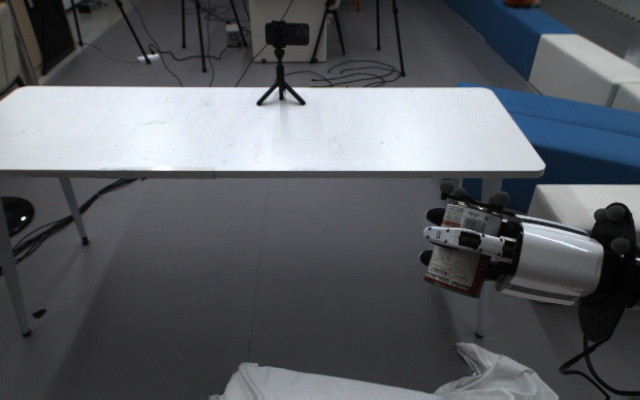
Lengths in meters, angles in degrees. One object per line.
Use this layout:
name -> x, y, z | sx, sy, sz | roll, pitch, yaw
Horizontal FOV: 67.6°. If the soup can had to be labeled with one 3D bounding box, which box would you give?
soup can -> 0.174, 0.057, 0.583 | 0.067, 0.101, 0.067 | 17, -1, 0
